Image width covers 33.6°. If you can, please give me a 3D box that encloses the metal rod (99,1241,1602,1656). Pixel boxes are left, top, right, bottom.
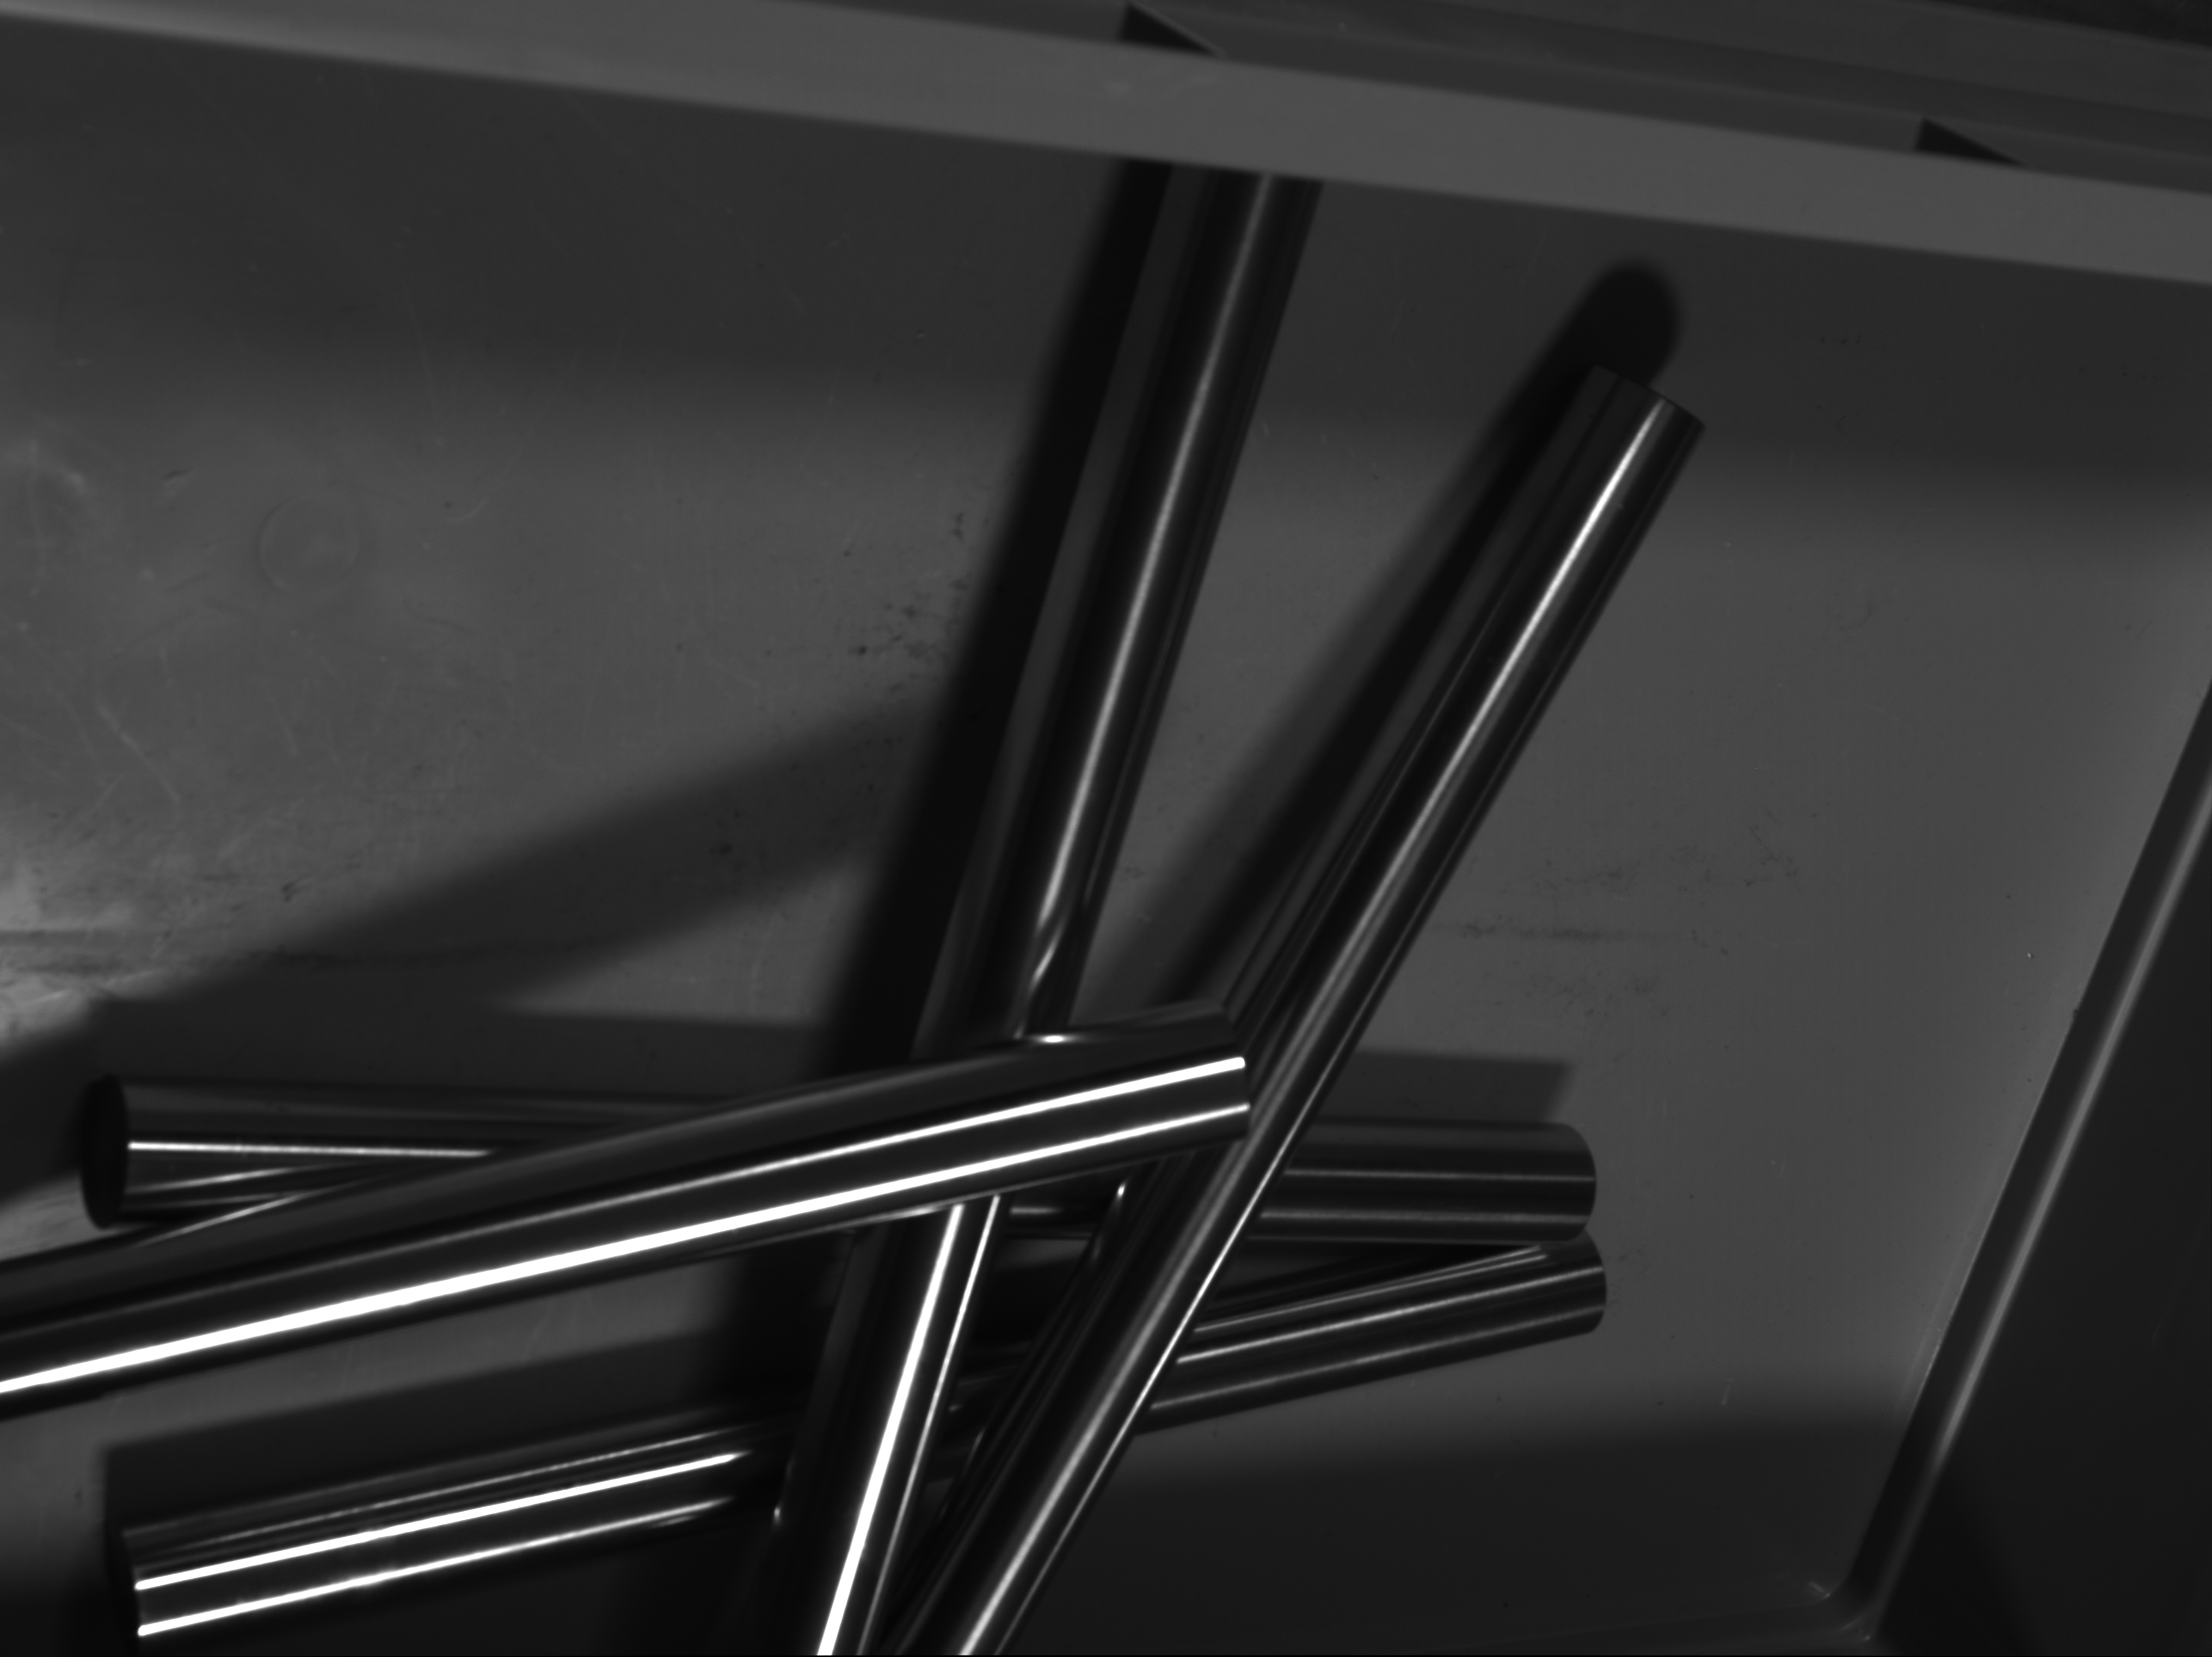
[{"bbox_3d":[-0.037,0.113,0.698,0.301,0.025,0.025,-8,122,-26],"label":"metal rod"}]

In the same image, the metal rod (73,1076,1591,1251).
[{"bbox_3d":[-0.035,0.063,0.668,0.301,0.025,0.025,5,116,-32],"label":"metal rod"}]

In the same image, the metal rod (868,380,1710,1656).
[{"bbox_3d":[0.023,0.055,0.670,0.025,0.025,0.300,28,94,-39],"label":"metal rod"}]

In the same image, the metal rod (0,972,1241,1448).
[{"bbox_3d":[-0.122,0.072,0.590,0.300,0.025,0.025,-14,125,-16],"label":"metal rod"}]

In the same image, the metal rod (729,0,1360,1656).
[{"bbox_3d":[-0.014,0.009,0.625,0.025,0.025,0.300,7,108,-33],"label":"metal rod"}]
